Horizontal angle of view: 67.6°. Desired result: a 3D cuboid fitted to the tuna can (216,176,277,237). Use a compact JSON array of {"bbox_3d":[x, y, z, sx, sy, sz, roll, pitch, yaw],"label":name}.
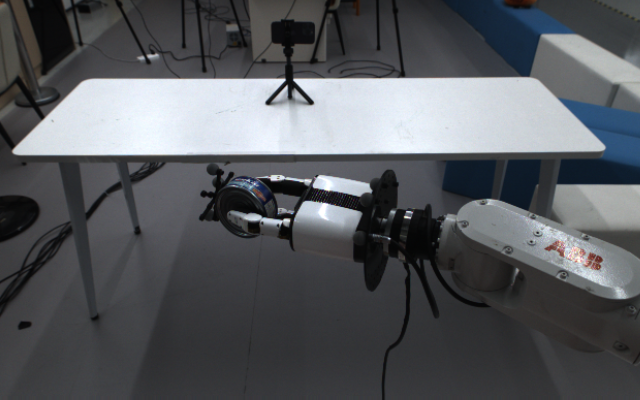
[{"bbox_3d":[-0.103,0.008,0.686,0.085,0.085,0.034,13,31,16],"label":"tuna can"}]
